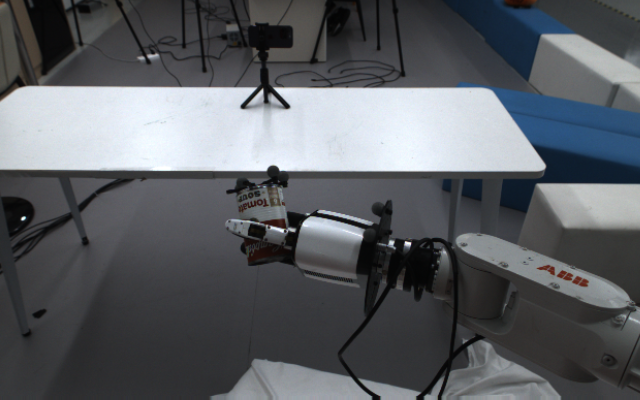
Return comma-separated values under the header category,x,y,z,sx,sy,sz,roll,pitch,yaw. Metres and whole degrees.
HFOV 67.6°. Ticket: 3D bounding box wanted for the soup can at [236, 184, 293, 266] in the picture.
category,x,y,z,sx,sy,sz,roll,pitch,yaw
soup can,-0.076,0.037,0.679,0.067,0.067,0.101,-10,80,-16
